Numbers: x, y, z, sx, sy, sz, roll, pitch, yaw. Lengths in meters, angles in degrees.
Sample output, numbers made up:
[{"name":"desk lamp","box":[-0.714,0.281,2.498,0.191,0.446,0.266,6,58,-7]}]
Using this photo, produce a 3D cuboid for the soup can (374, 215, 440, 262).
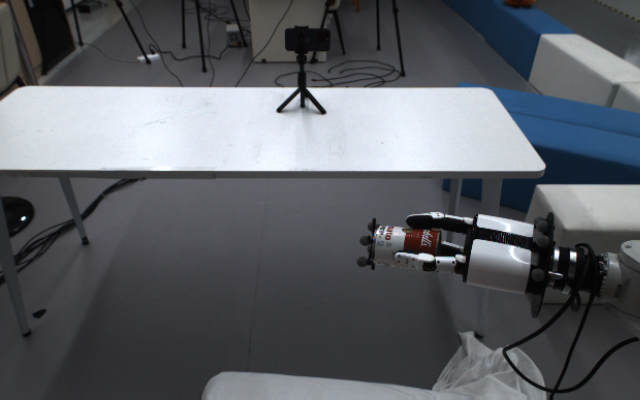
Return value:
[{"name":"soup can","box":[0.143,0.077,0.781,0.101,0.067,0.067,4,34,18]}]
